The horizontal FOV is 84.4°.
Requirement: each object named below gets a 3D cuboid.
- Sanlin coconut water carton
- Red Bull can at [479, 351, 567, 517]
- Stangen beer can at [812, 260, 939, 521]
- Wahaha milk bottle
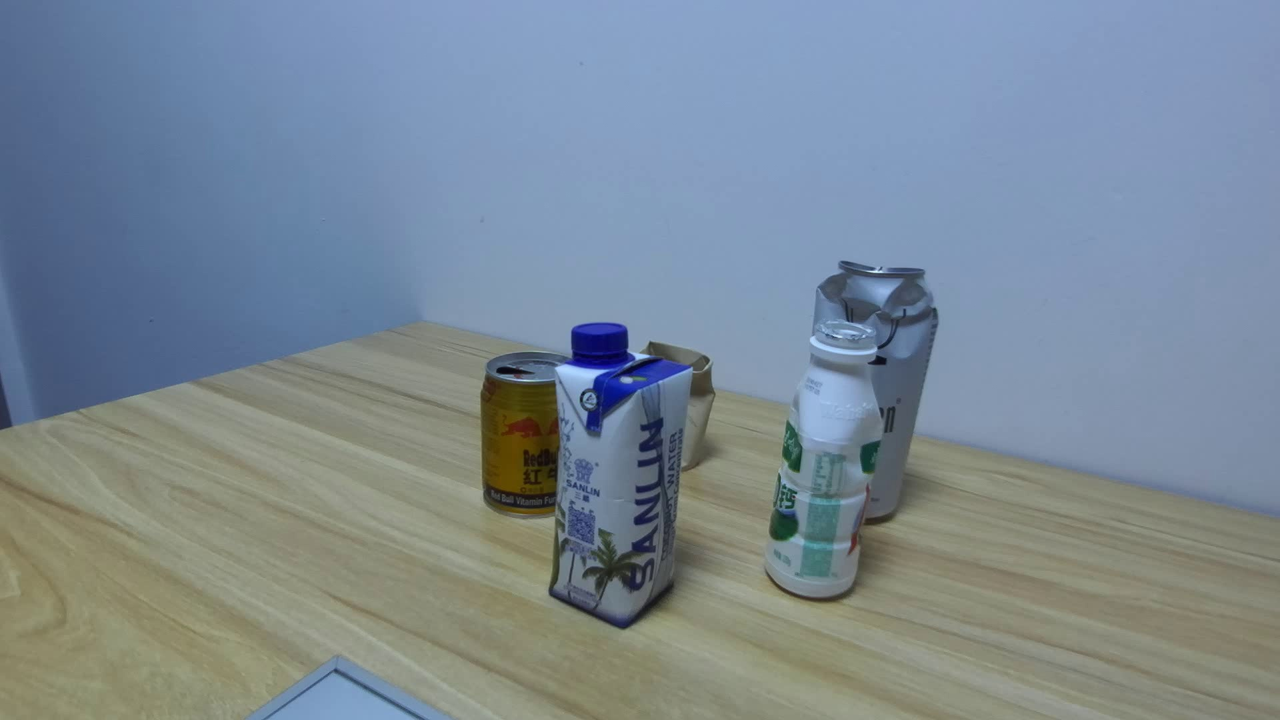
[{"bbox_3d":[-0.011,0.056,0.365,0.060,0.144,0.061,15,20,29],"label":"Sanlin coconut water carton"},{"bbox_3d":[-0.071,0.047,0.467,0.067,0.093,0.067,3,19,-1],"label":"Red Bull can"},{"bbox_3d":[0.149,0.021,0.468,0.066,0.166,0.065,-6,20,-26],"label":"Stangen beer can"},{"bbox_3d":[0.102,0.054,0.380,0.055,0.149,0.055,4,20,-1],"label":"Wahaha milk bottle"}]
